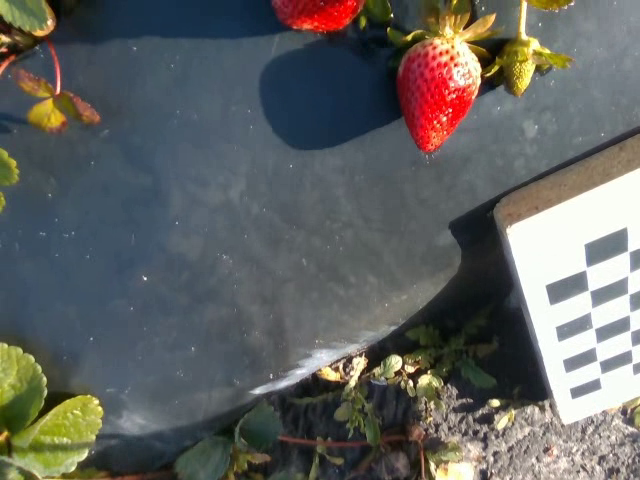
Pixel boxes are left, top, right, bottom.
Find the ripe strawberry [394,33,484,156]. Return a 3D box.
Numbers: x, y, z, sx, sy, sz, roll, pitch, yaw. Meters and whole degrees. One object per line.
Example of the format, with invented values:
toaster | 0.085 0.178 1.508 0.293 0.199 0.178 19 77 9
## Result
ripe strawberry | 0.052 -0.064 0.268 0.043 0.053 0.038 8 -1 -23
